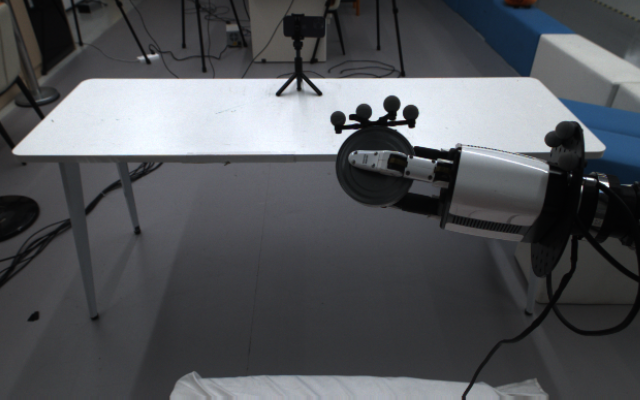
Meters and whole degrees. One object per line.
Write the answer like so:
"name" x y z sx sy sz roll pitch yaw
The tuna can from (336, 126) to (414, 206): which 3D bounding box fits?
"tuna can" 0.063 -0.036 0.527 0.085 0.085 0.034 10 -7 12
